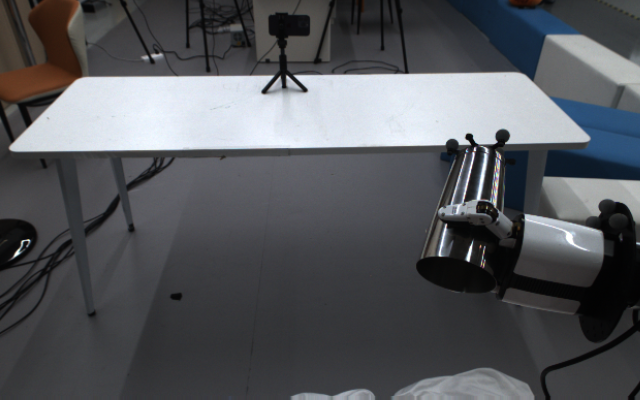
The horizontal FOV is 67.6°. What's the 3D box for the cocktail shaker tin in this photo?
[{"bbox_3d":[0.184,0.018,0.600,0.093,0.093,0.170,13,61,16],"label":"cocktail shaker tin"}]
